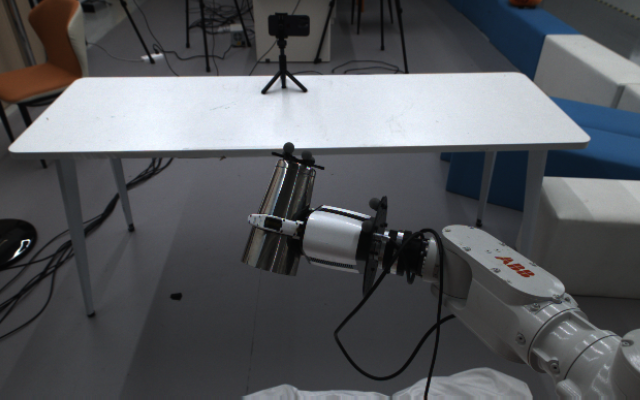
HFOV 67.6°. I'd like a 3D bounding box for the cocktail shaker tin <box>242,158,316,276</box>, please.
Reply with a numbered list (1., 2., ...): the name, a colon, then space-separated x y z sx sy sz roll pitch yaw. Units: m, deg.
1. cocktail shaker tin: -0.060 0.026 0.773 0.093 0.170 0.093 16 -4 1
